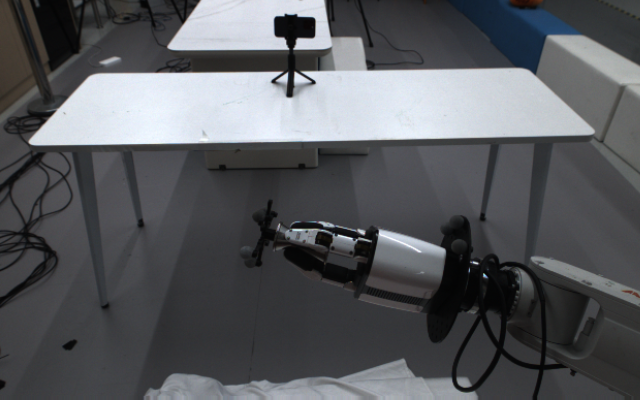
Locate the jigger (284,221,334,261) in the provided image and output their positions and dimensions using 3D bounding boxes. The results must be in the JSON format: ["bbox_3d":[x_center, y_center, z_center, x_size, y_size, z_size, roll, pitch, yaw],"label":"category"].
[{"bbox_3d":[-0.014,0.050,0.612,0.071,0.043,0.043,13,36,4],"label":"jigger"}]
